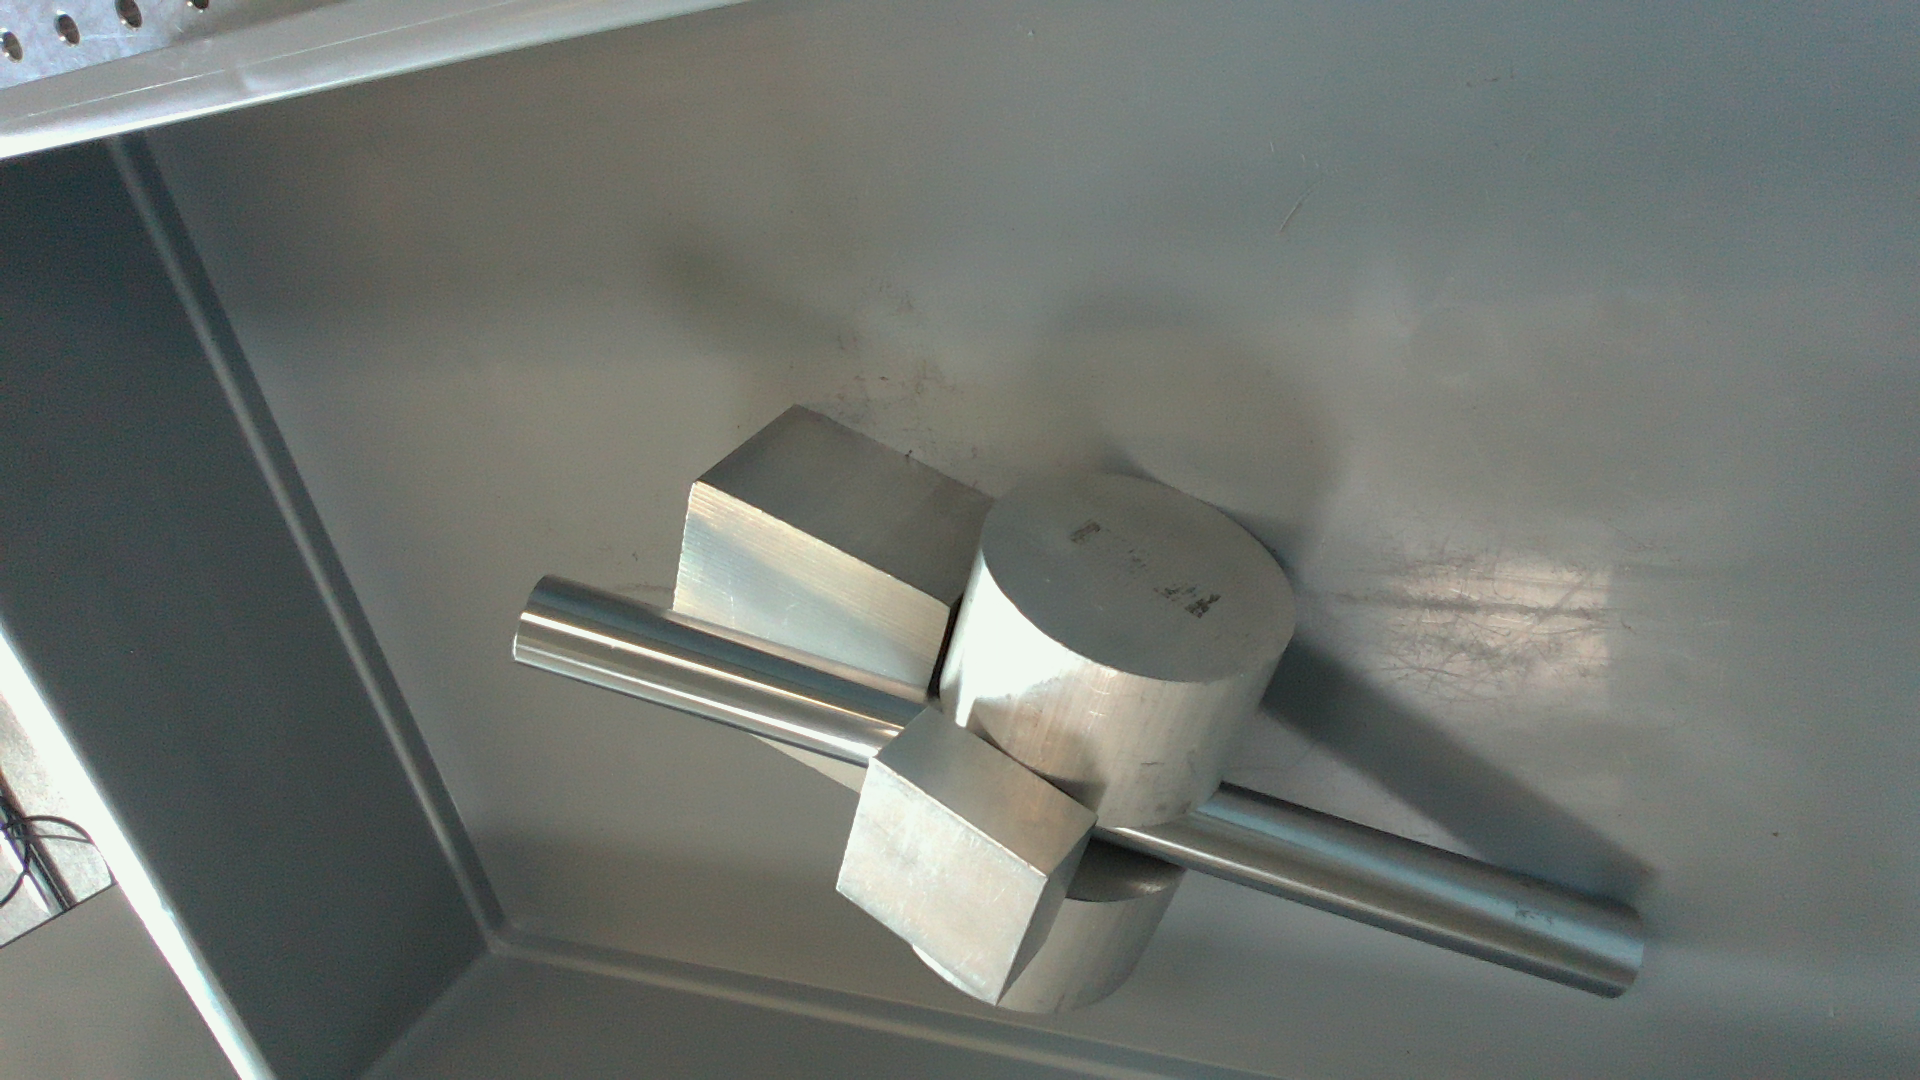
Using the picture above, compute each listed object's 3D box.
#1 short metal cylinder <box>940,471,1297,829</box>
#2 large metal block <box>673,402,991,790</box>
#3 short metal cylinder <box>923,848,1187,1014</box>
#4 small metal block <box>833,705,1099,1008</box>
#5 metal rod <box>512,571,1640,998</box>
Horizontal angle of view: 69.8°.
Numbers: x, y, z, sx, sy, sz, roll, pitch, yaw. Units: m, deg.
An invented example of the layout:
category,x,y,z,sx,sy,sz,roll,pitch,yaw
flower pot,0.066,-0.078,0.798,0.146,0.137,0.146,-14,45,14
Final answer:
category,x,y,z,sx,sy,sz,roll,pitch,yaw
short metal cylinder,0.039,0.026,0.352,0.080,0.080,0.050,25,127,13
large metal block,-0.036,0.019,0.404,0.080,0.050,0.080,26,128,12
short metal cylinder,0.023,0.087,0.397,0.080,0.080,0.050,27,128,12
small metal block,0.000,0.077,0.337,0.050,0.025,0.050,31,129,19
metal rod,0.031,0.065,0.364,0.300,0.025,0.025,17,127,-1
